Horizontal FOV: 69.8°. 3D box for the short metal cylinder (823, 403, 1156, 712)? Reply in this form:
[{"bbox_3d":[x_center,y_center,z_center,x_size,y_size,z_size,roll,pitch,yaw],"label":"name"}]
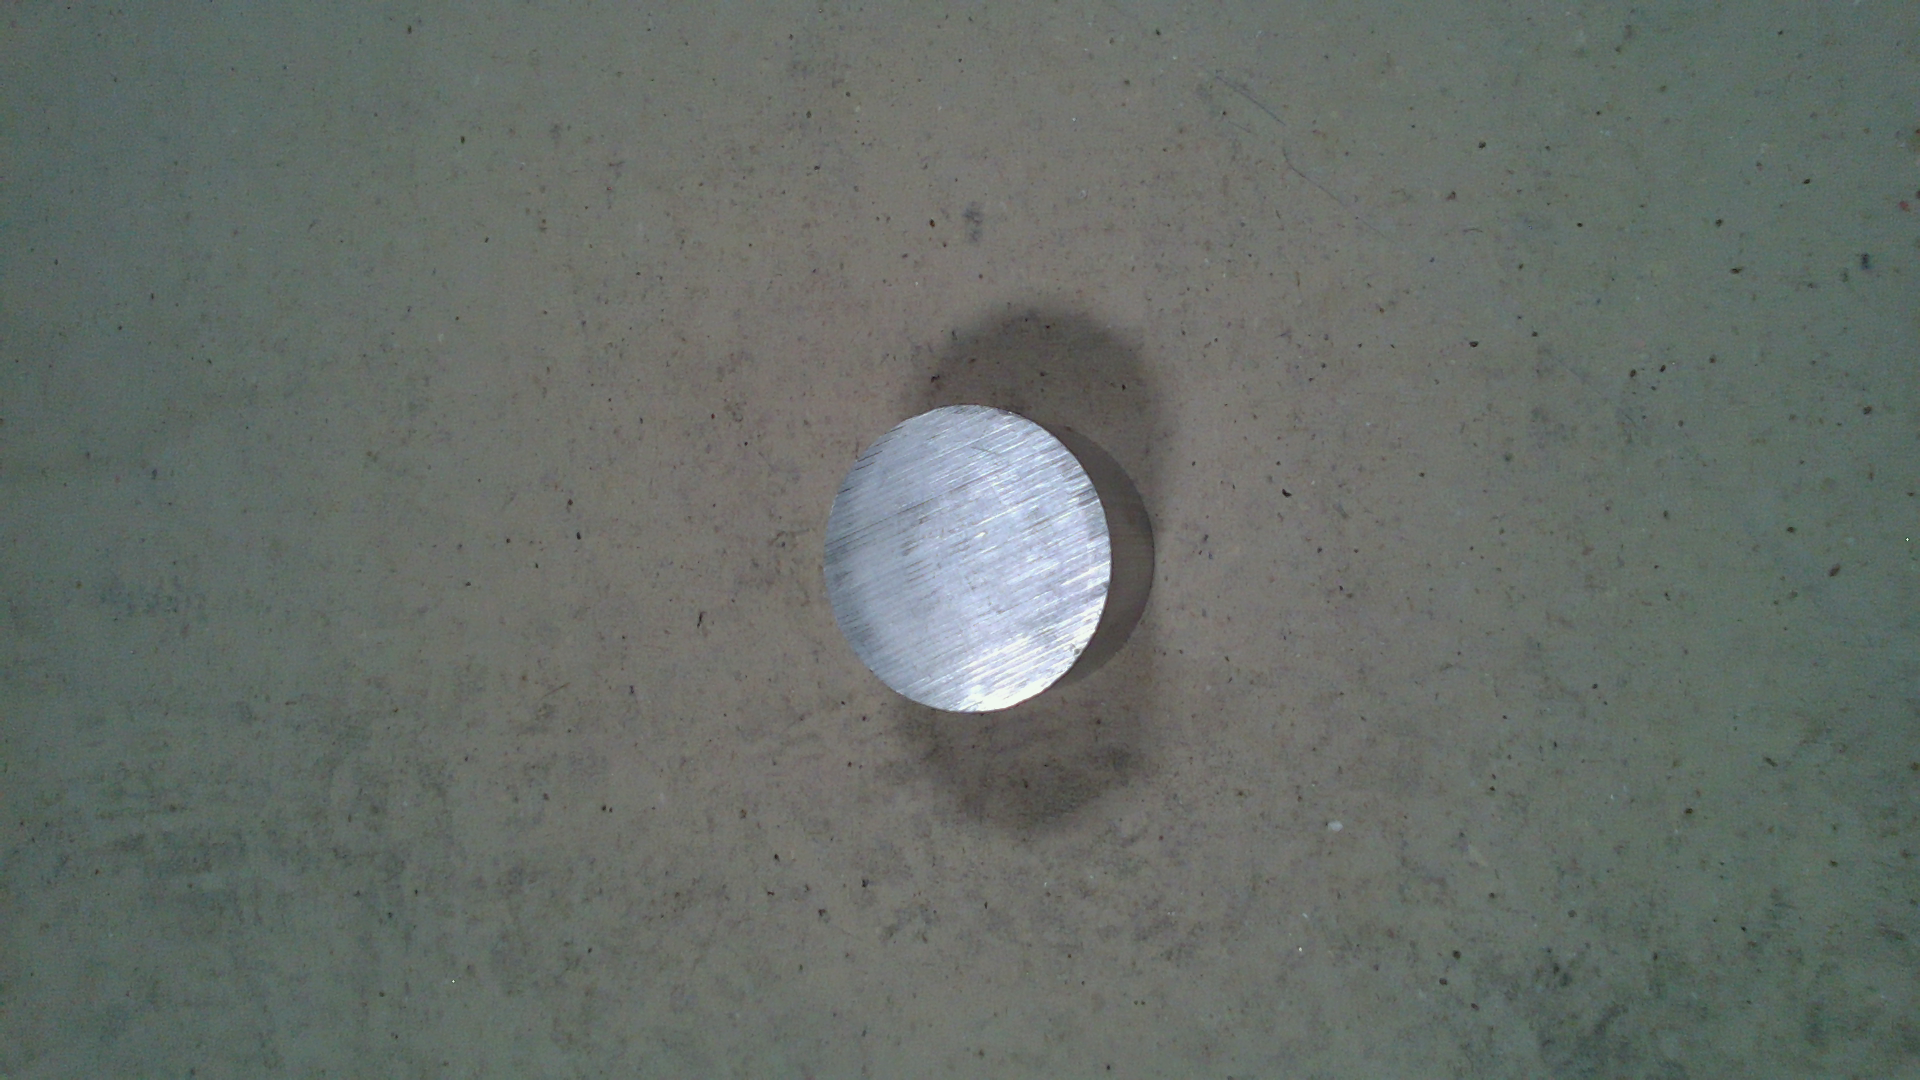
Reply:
[{"bbox_3d":[0.009,0.005,0.379,0.080,0.050,0.080,0,90,20],"label":"short metal cylinder"}]
